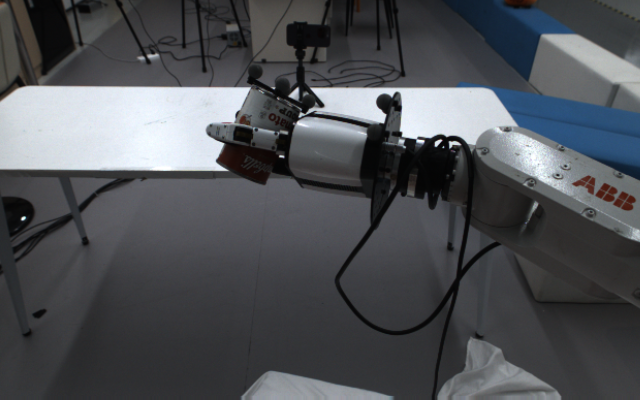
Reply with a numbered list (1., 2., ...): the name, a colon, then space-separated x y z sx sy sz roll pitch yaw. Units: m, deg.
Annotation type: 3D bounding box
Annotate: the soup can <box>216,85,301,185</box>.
1. soup can: -0.074 -0.078 0.587 0.067 0.101 0.067 26 6 -3
